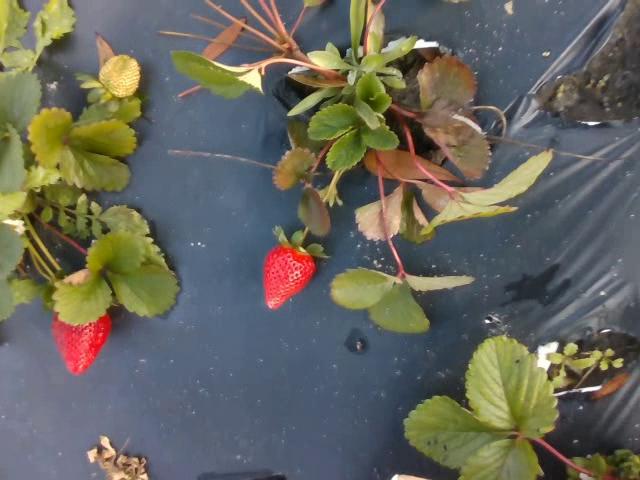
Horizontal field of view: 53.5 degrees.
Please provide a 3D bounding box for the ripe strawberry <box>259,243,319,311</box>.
[{"bbox_3d":[-0.024,0.027,0.411,0.044,0.052,0.041,28,-11,-25],"label":"ripe strawberry"}]

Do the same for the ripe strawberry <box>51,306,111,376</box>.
[{"bbox_3d":[-0.171,0.071,0.444,0.050,0.050,0.046,9,-34,-12],"label":"ripe strawberry"}]
